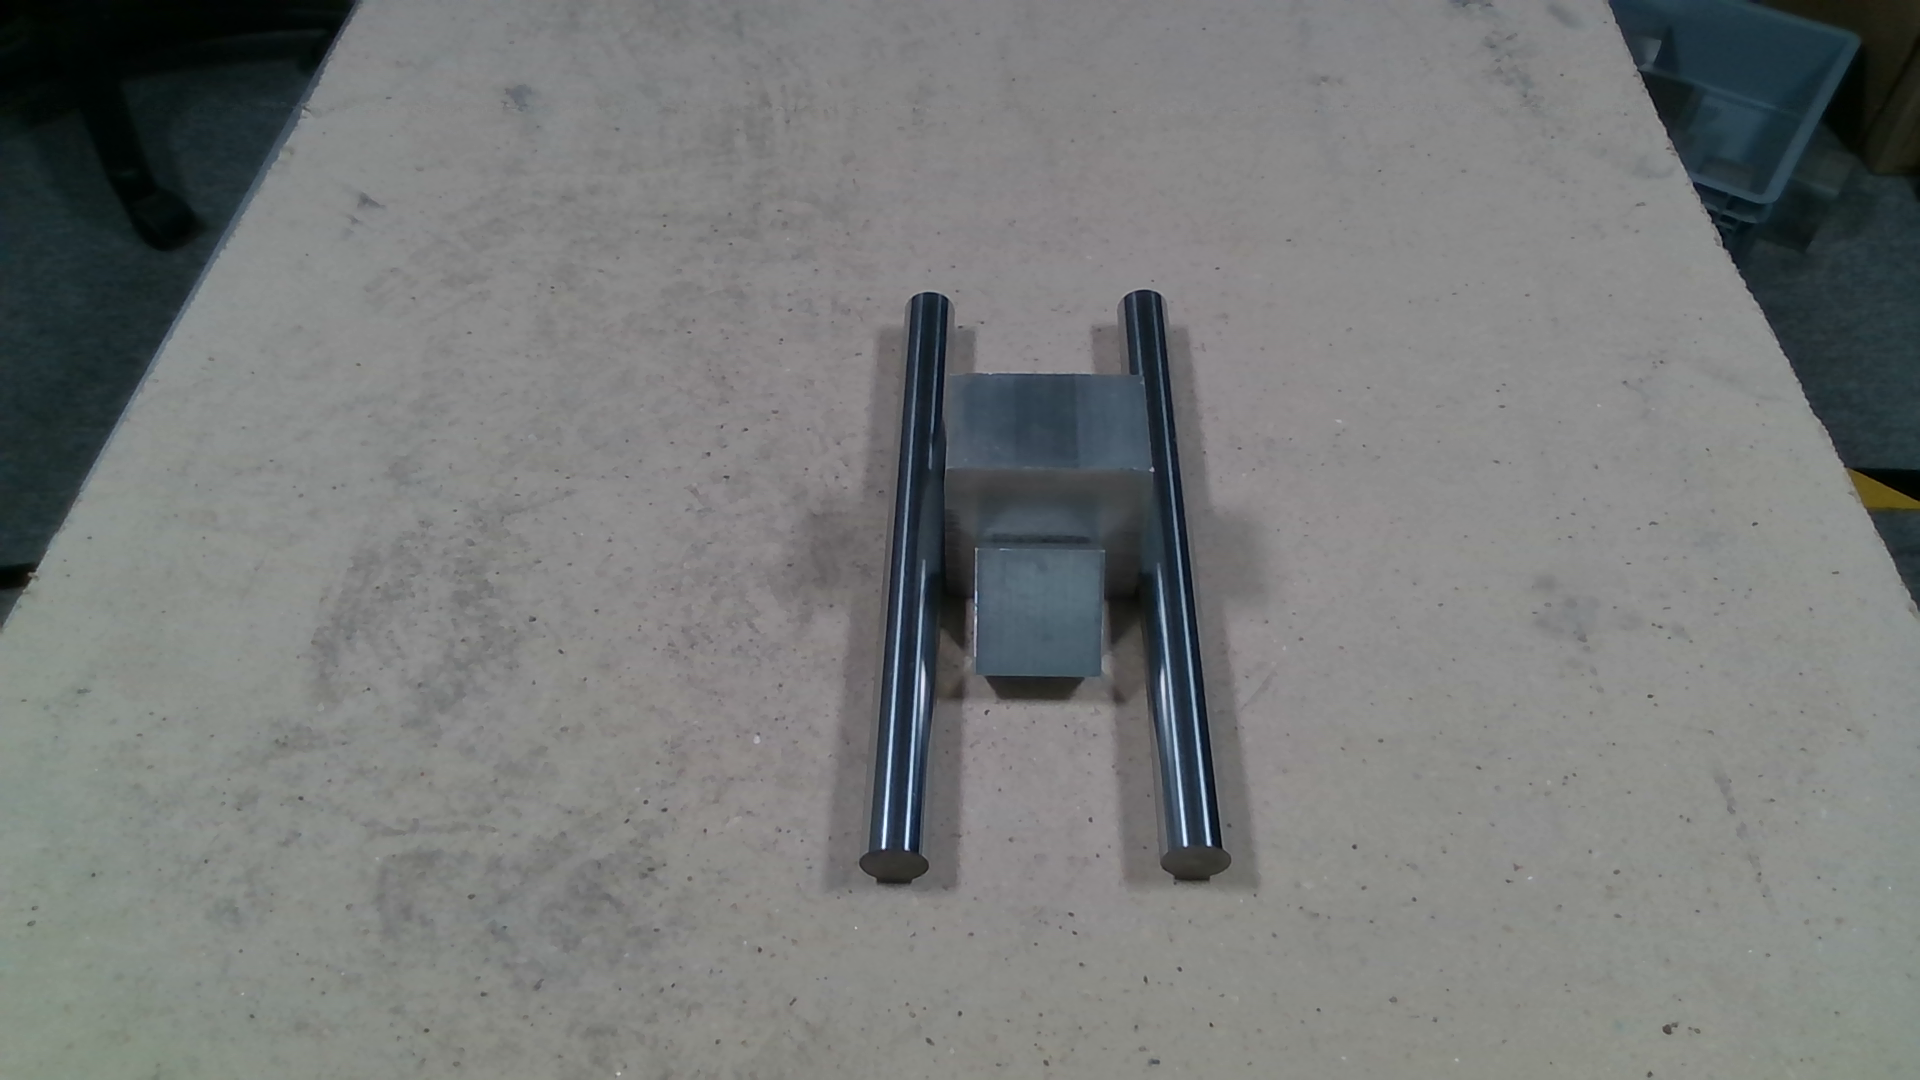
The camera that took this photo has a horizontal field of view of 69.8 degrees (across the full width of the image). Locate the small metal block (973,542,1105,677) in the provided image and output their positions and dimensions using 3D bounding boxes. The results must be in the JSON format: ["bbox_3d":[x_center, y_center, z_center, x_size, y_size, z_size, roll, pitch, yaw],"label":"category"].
[{"bbox_3d":[0.031,0.027,0.547,0.050,0.050,0.025,1,9,0],"label":"small metal block"}]

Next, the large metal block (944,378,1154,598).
[{"bbox_3d":[0.034,-0.021,0.571,0.080,0.080,0.050,0,50,0],"label":"large metal block"}]

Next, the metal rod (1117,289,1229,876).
[{"bbox_3d":[0.087,0.000,0.587,0.025,0.025,0.299,1,50,1],"label":"metal rod"}]

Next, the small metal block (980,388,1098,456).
[{"bbox_3d":[0.034,-0.052,0.613,0.050,0.050,0.025,0,89,1],"label":"small metal block"}]

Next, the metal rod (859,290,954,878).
[{"bbox_3d":[-0.019,0.000,0.587,0.025,0.025,0.299,1,50,1],"label":"metal rod"}]
